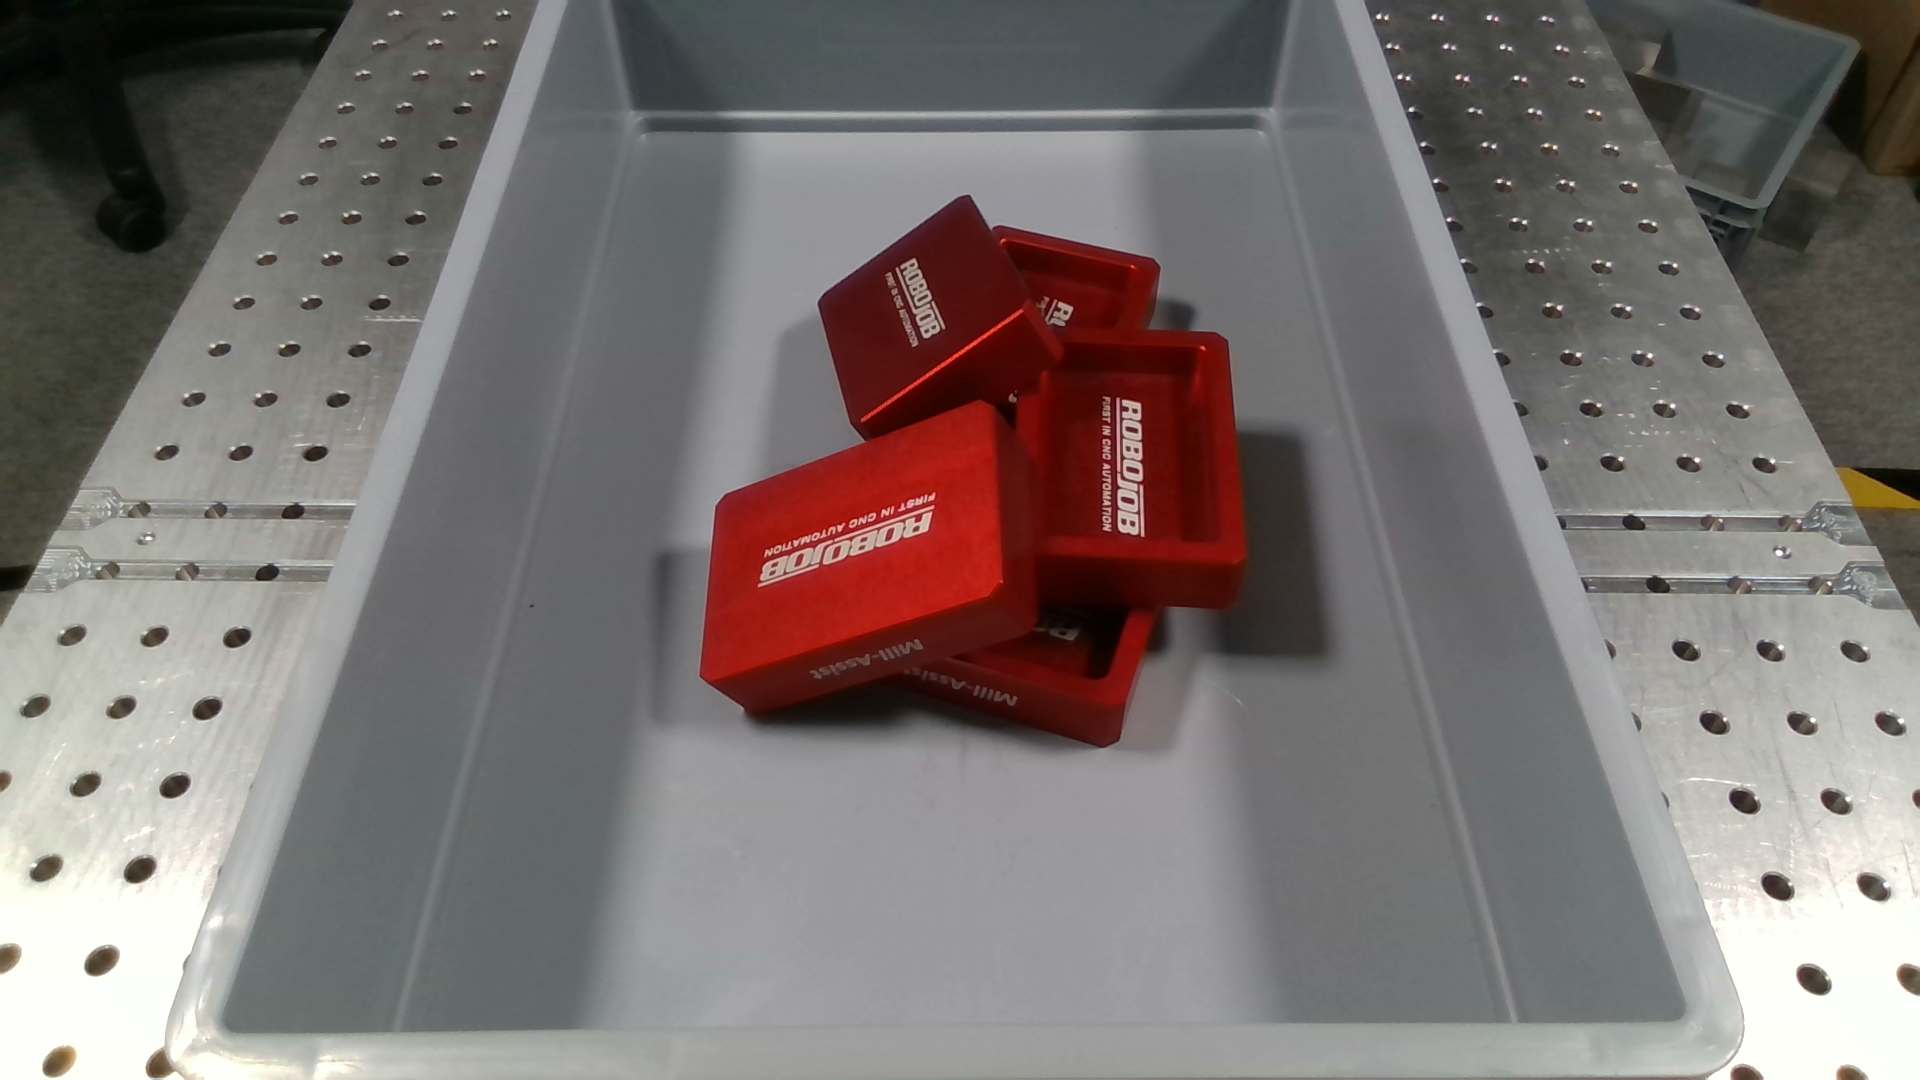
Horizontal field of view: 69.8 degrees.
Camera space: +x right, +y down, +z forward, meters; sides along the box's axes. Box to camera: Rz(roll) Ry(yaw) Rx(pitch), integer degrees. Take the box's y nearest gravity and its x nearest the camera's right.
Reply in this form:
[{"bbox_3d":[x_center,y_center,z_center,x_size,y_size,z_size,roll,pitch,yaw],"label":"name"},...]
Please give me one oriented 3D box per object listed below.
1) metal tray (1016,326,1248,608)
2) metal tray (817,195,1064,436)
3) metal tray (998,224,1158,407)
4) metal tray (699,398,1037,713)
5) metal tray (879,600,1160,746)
[{"bbox_3d":[0.068,-0.034,0.571,0.090,0.030,0.130,3,50,2],"label":"metal tray"},{"bbox_3d":[-0.013,-0.097,0.619,0.090,0.030,0.130,-33,35,10],"label":"metal tray"},{"bbox_3d":[0.035,-0.094,0.659,0.090,0.030,0.130,15,52,12],"label":"metal tray"},{"bbox_3d":[-0.037,0.007,0.534,0.130,0.030,0.090,-18,53,22],"label":"metal tray"},{"bbox_3d":[0.014,0.023,0.563,0.130,0.030,0.090,15,52,12],"label":"metal tray"}]
